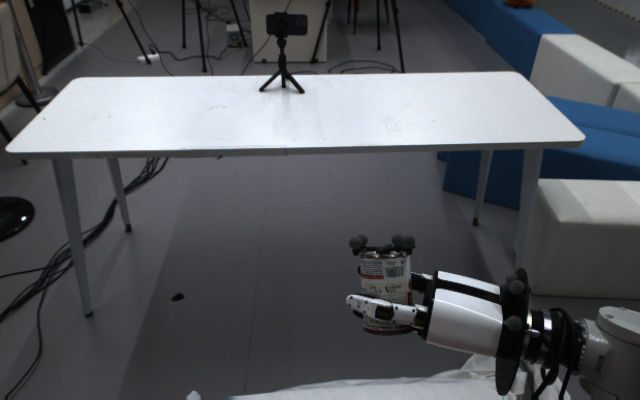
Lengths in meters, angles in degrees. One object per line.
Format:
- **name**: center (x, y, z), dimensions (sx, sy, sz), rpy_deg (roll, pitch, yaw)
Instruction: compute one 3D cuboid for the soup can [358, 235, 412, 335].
- **soup can**: center (0.089, 0.120, 0.639), dimensions (0.067, 0.101, 0.067), rpy_deg (-3, -1, 0)
